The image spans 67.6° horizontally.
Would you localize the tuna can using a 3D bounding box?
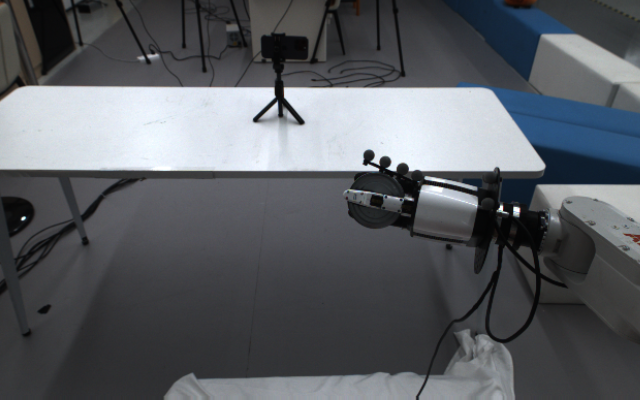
[{"bbox_3d":[0.088,0.000,0.739,0.085,0.085,0.034,13,2,16],"label":"tuna can"}]
